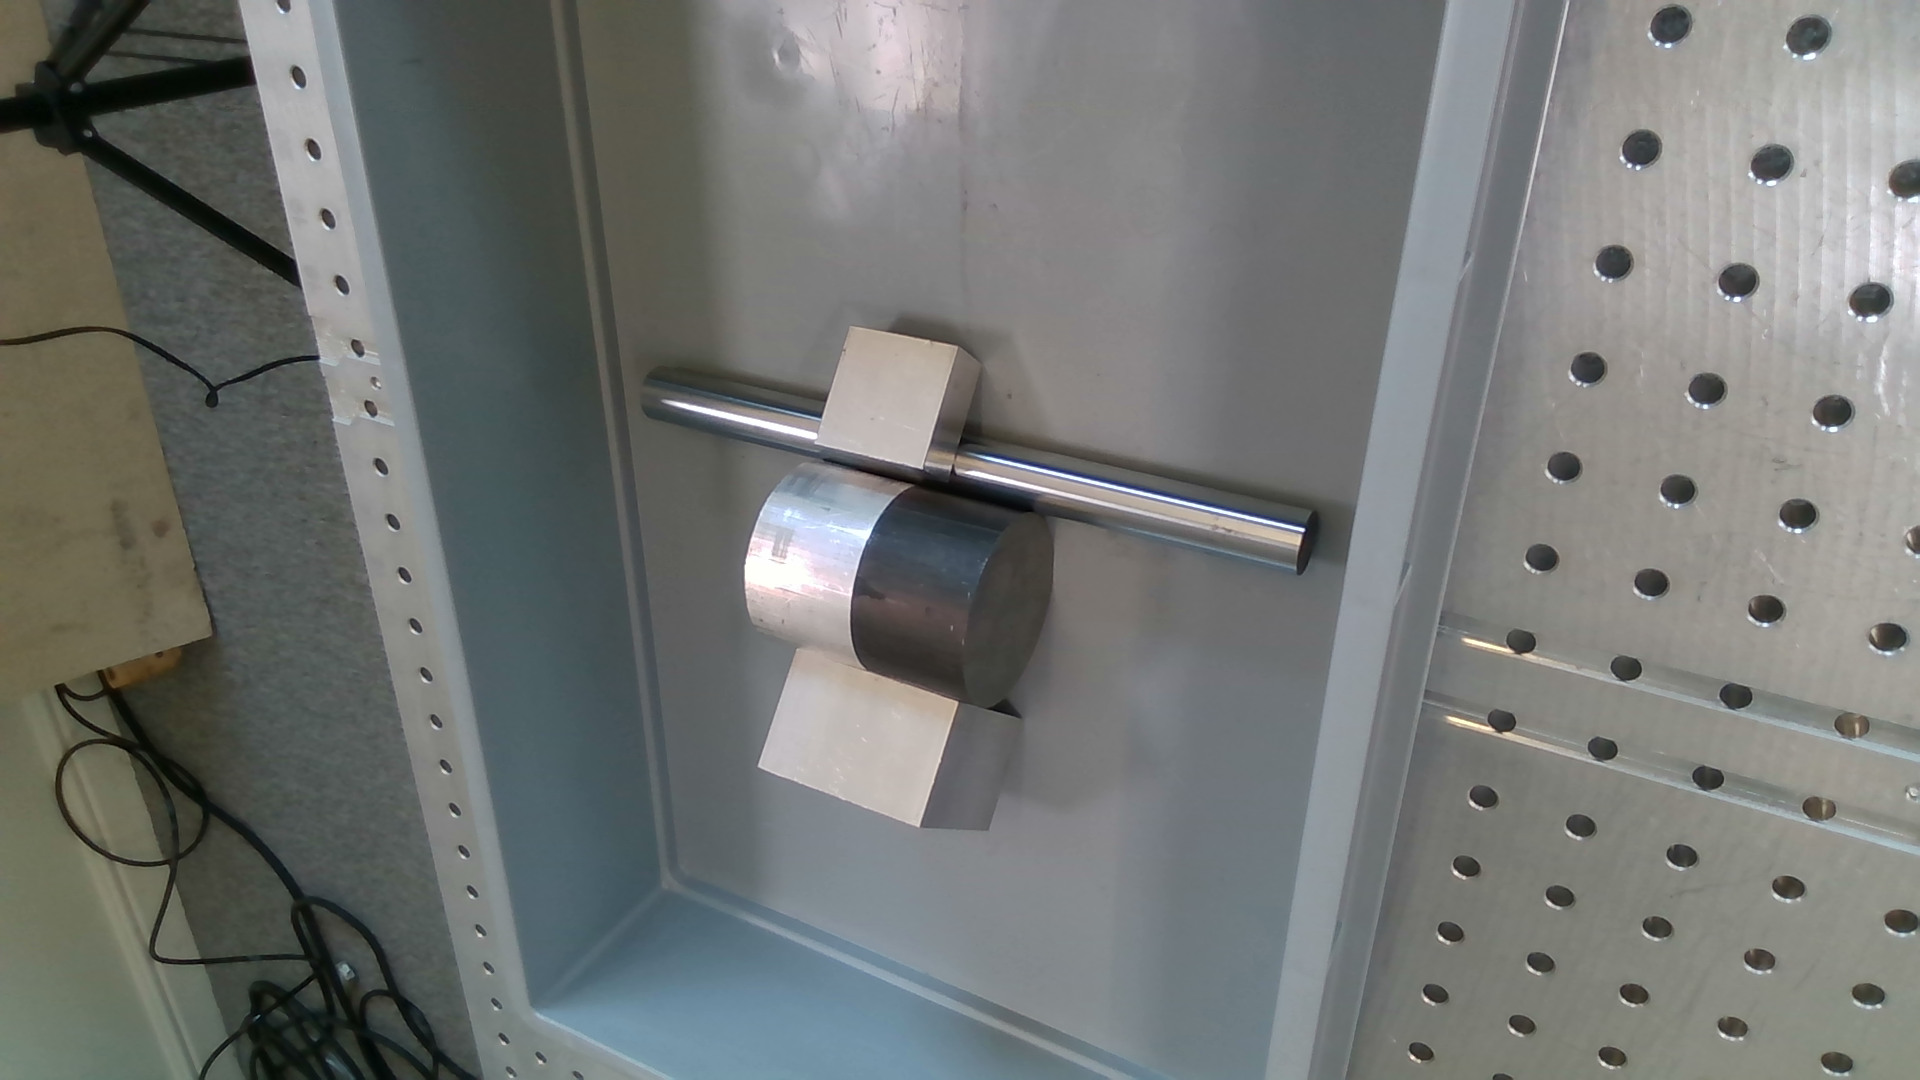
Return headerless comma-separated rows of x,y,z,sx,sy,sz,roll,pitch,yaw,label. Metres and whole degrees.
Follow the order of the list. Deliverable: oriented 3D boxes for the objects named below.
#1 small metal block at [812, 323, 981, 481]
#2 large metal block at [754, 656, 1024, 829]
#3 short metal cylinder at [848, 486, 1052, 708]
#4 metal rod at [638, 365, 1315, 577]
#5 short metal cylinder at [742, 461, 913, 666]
-0.025,-0.055,0.549,0.050,0.025,0.050,14,87,24,small metal block
-0.029,0.088,0.600,0.080,0.080,0.050,15,84,25,large metal block
-0.002,0.023,0.557,0.050,0.080,0.080,15,122,25,short metal cylinder
-0.006,-0.033,0.563,0.300,0.025,0.025,15,122,25,metal rod
-0.047,0.011,0.578,0.050,0.080,0.080,15,122,25,short metal cylinder
